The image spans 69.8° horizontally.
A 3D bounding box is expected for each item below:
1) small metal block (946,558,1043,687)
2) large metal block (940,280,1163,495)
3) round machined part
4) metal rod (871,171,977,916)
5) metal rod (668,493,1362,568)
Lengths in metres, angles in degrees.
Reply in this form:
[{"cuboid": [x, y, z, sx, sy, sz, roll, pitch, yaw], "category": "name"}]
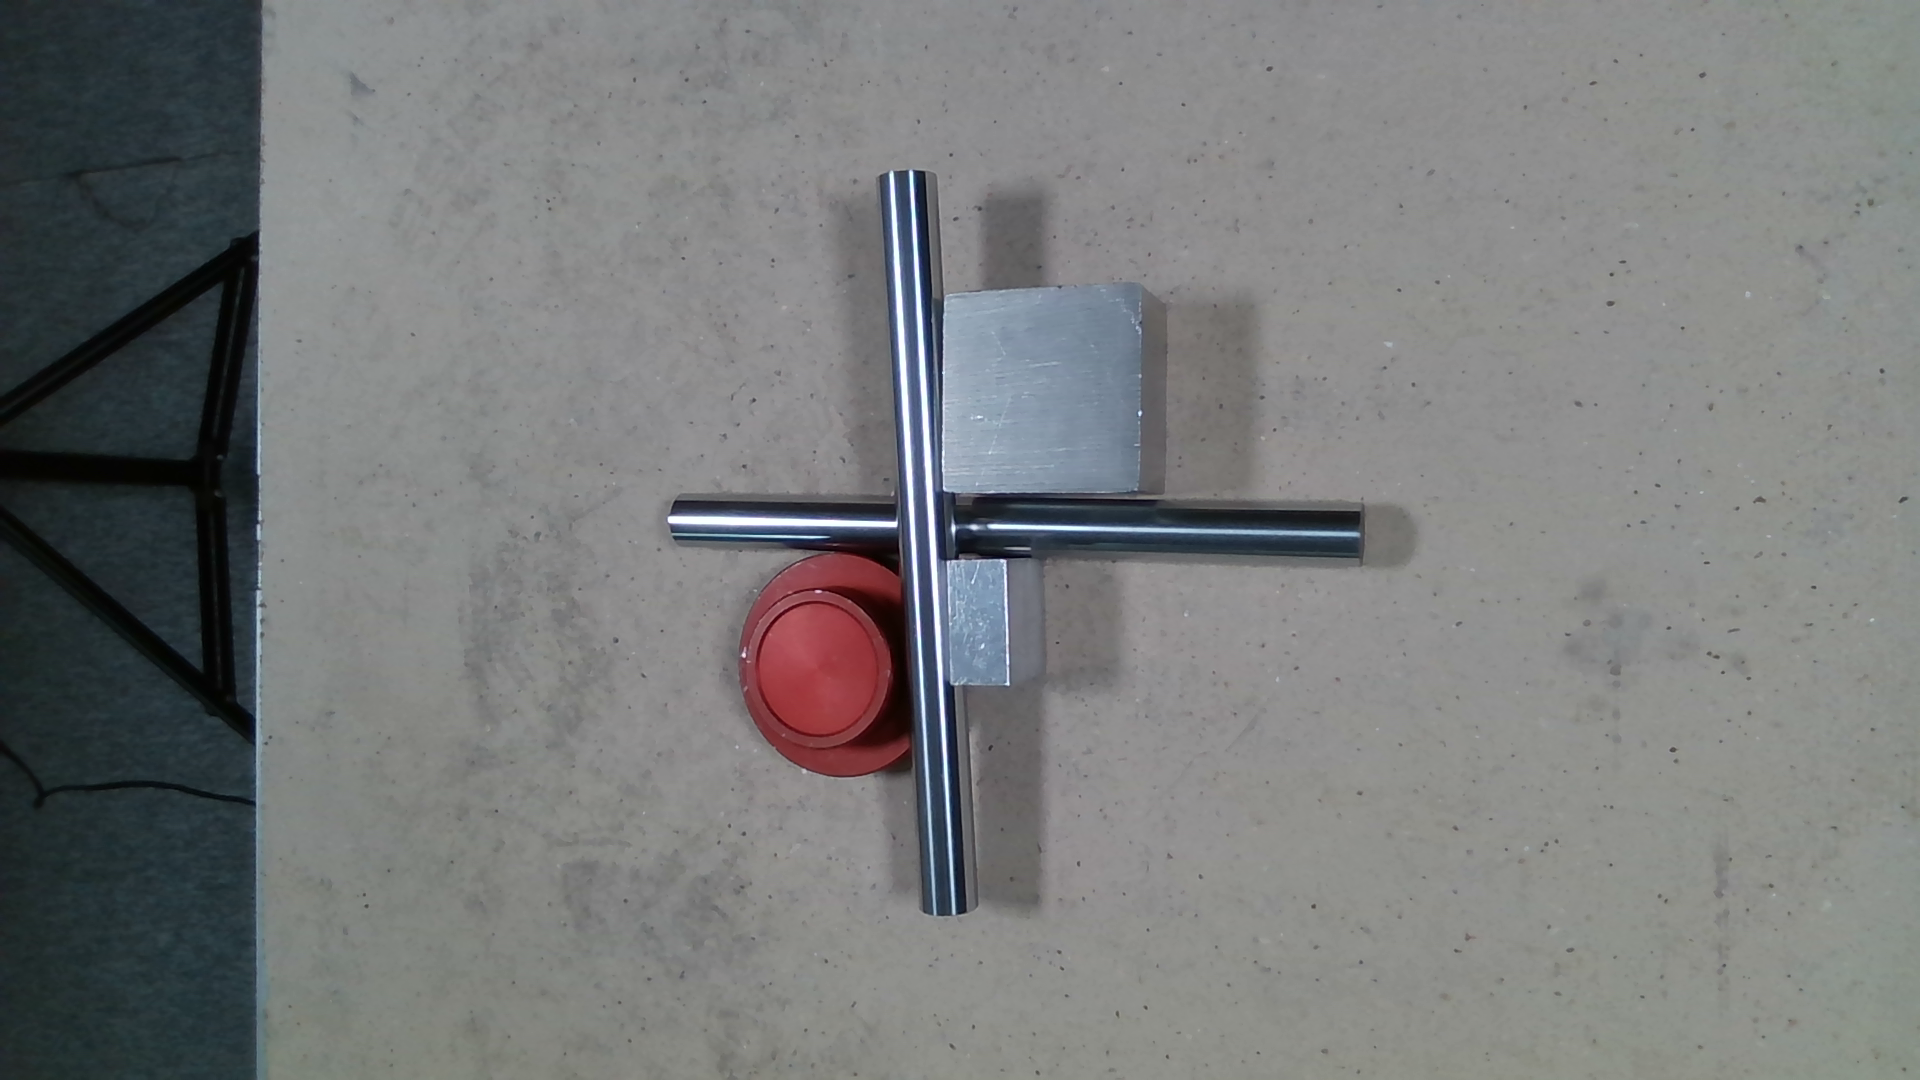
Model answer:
[{"cuboid": [0.015, 0.033, 0.567, 0.025, 0.050, 0.050, -1, 90, 20], "category": "small metal block"}, {"cuboid": [0.039, -0.059, 0.557, 0.080, 0.050, 0.080, 1, 91, 20], "category": "large metal block"}, {"cuboid": [-0.054, 0.054, 0.596, 0.098, 0.042, 0.098, 0, 91, 20], "category": "round machined part"}, {"cuboid": [-0.014, 0.003, 0.565, 0.025, 0.025, 0.300, -2, 94, 20], "category": "metal rod"}, {"cuboid": [0.013, -0.005, 0.581, 0.300, 0.025, 0.025, 2, 91, 20], "category": "metal rod"}]
